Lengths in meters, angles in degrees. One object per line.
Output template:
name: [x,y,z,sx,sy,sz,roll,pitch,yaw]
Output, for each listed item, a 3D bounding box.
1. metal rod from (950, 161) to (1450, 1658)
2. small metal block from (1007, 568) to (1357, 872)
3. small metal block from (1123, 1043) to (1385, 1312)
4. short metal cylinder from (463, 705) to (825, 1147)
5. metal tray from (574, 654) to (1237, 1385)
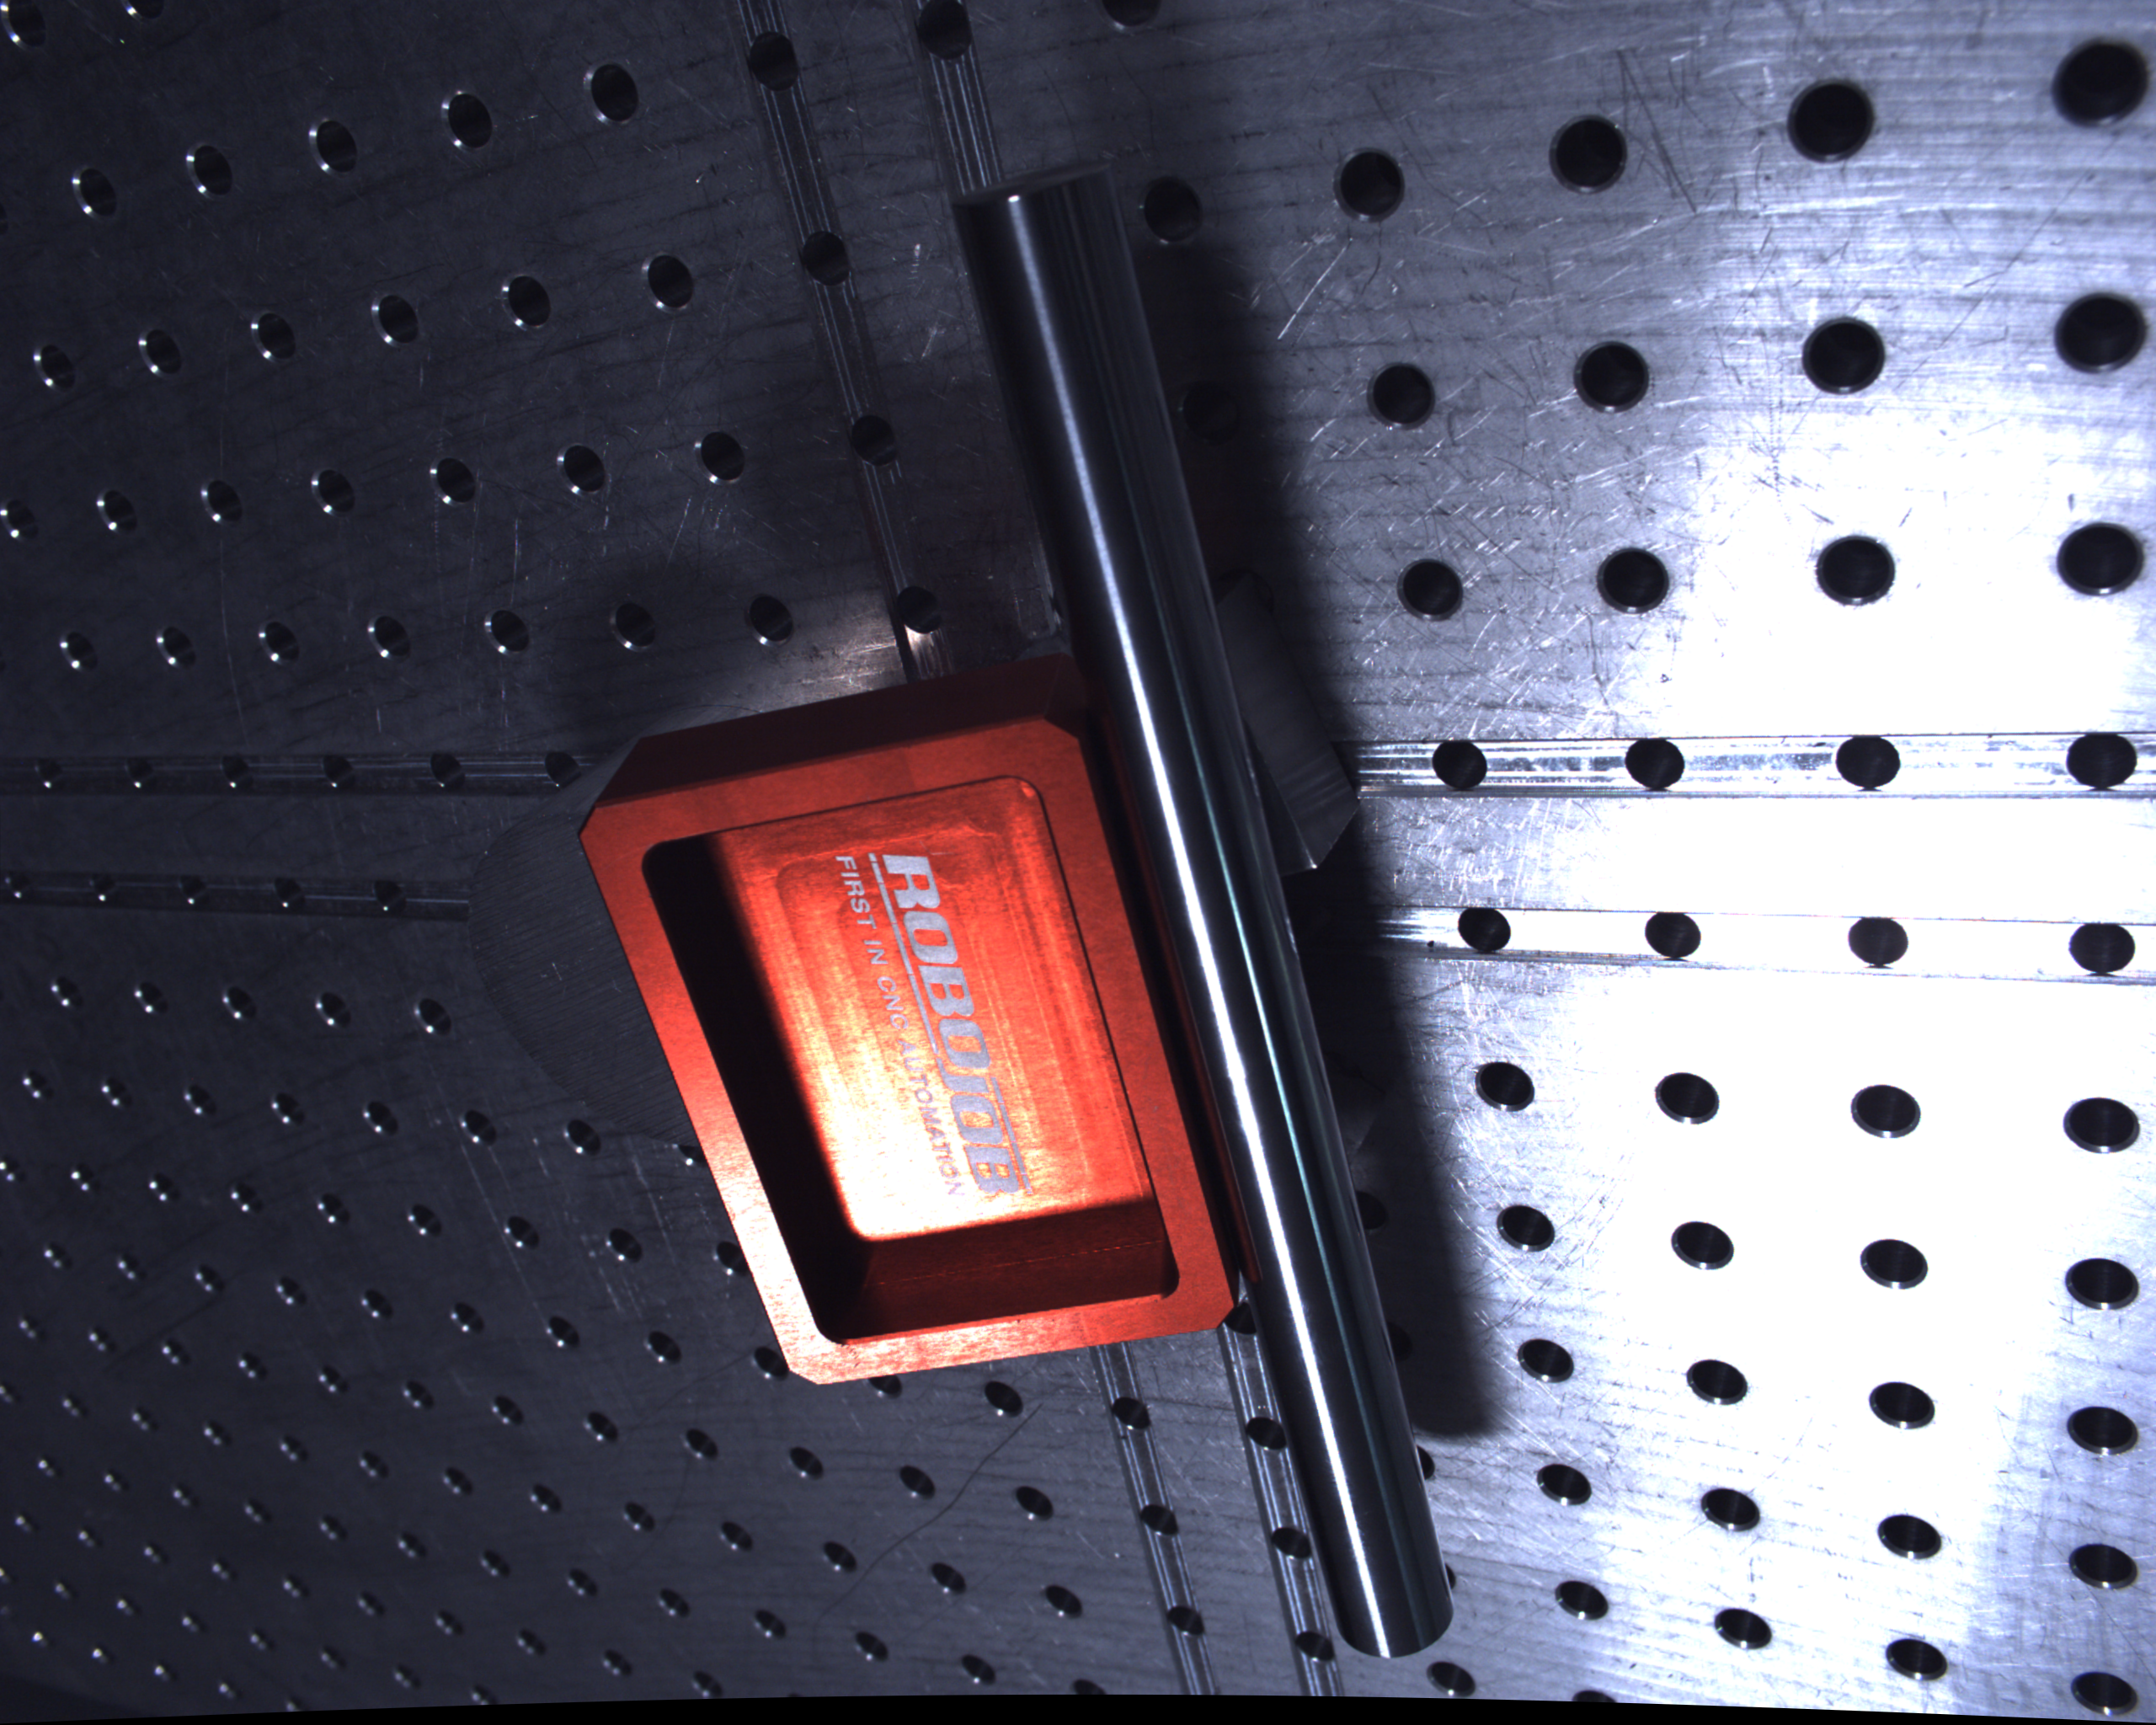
metal rod: [0.029,0.027,0.379,0.025,0.025,0.298,-1,118,28]
small metal block: [0.016,-0.021,0.389,0.050,0.025,0.050,-16,110,34]
small metal block: [0.027,0.057,0.430,0.050,0.025,0.050,34,129,5]
short metal cylinder: [-0.082,0.013,0.443,0.080,0.050,0.079,13,124,20]
metal tray: [-0.027,0.033,0.390,0.090,0.030,0.129,-11,115,11]
